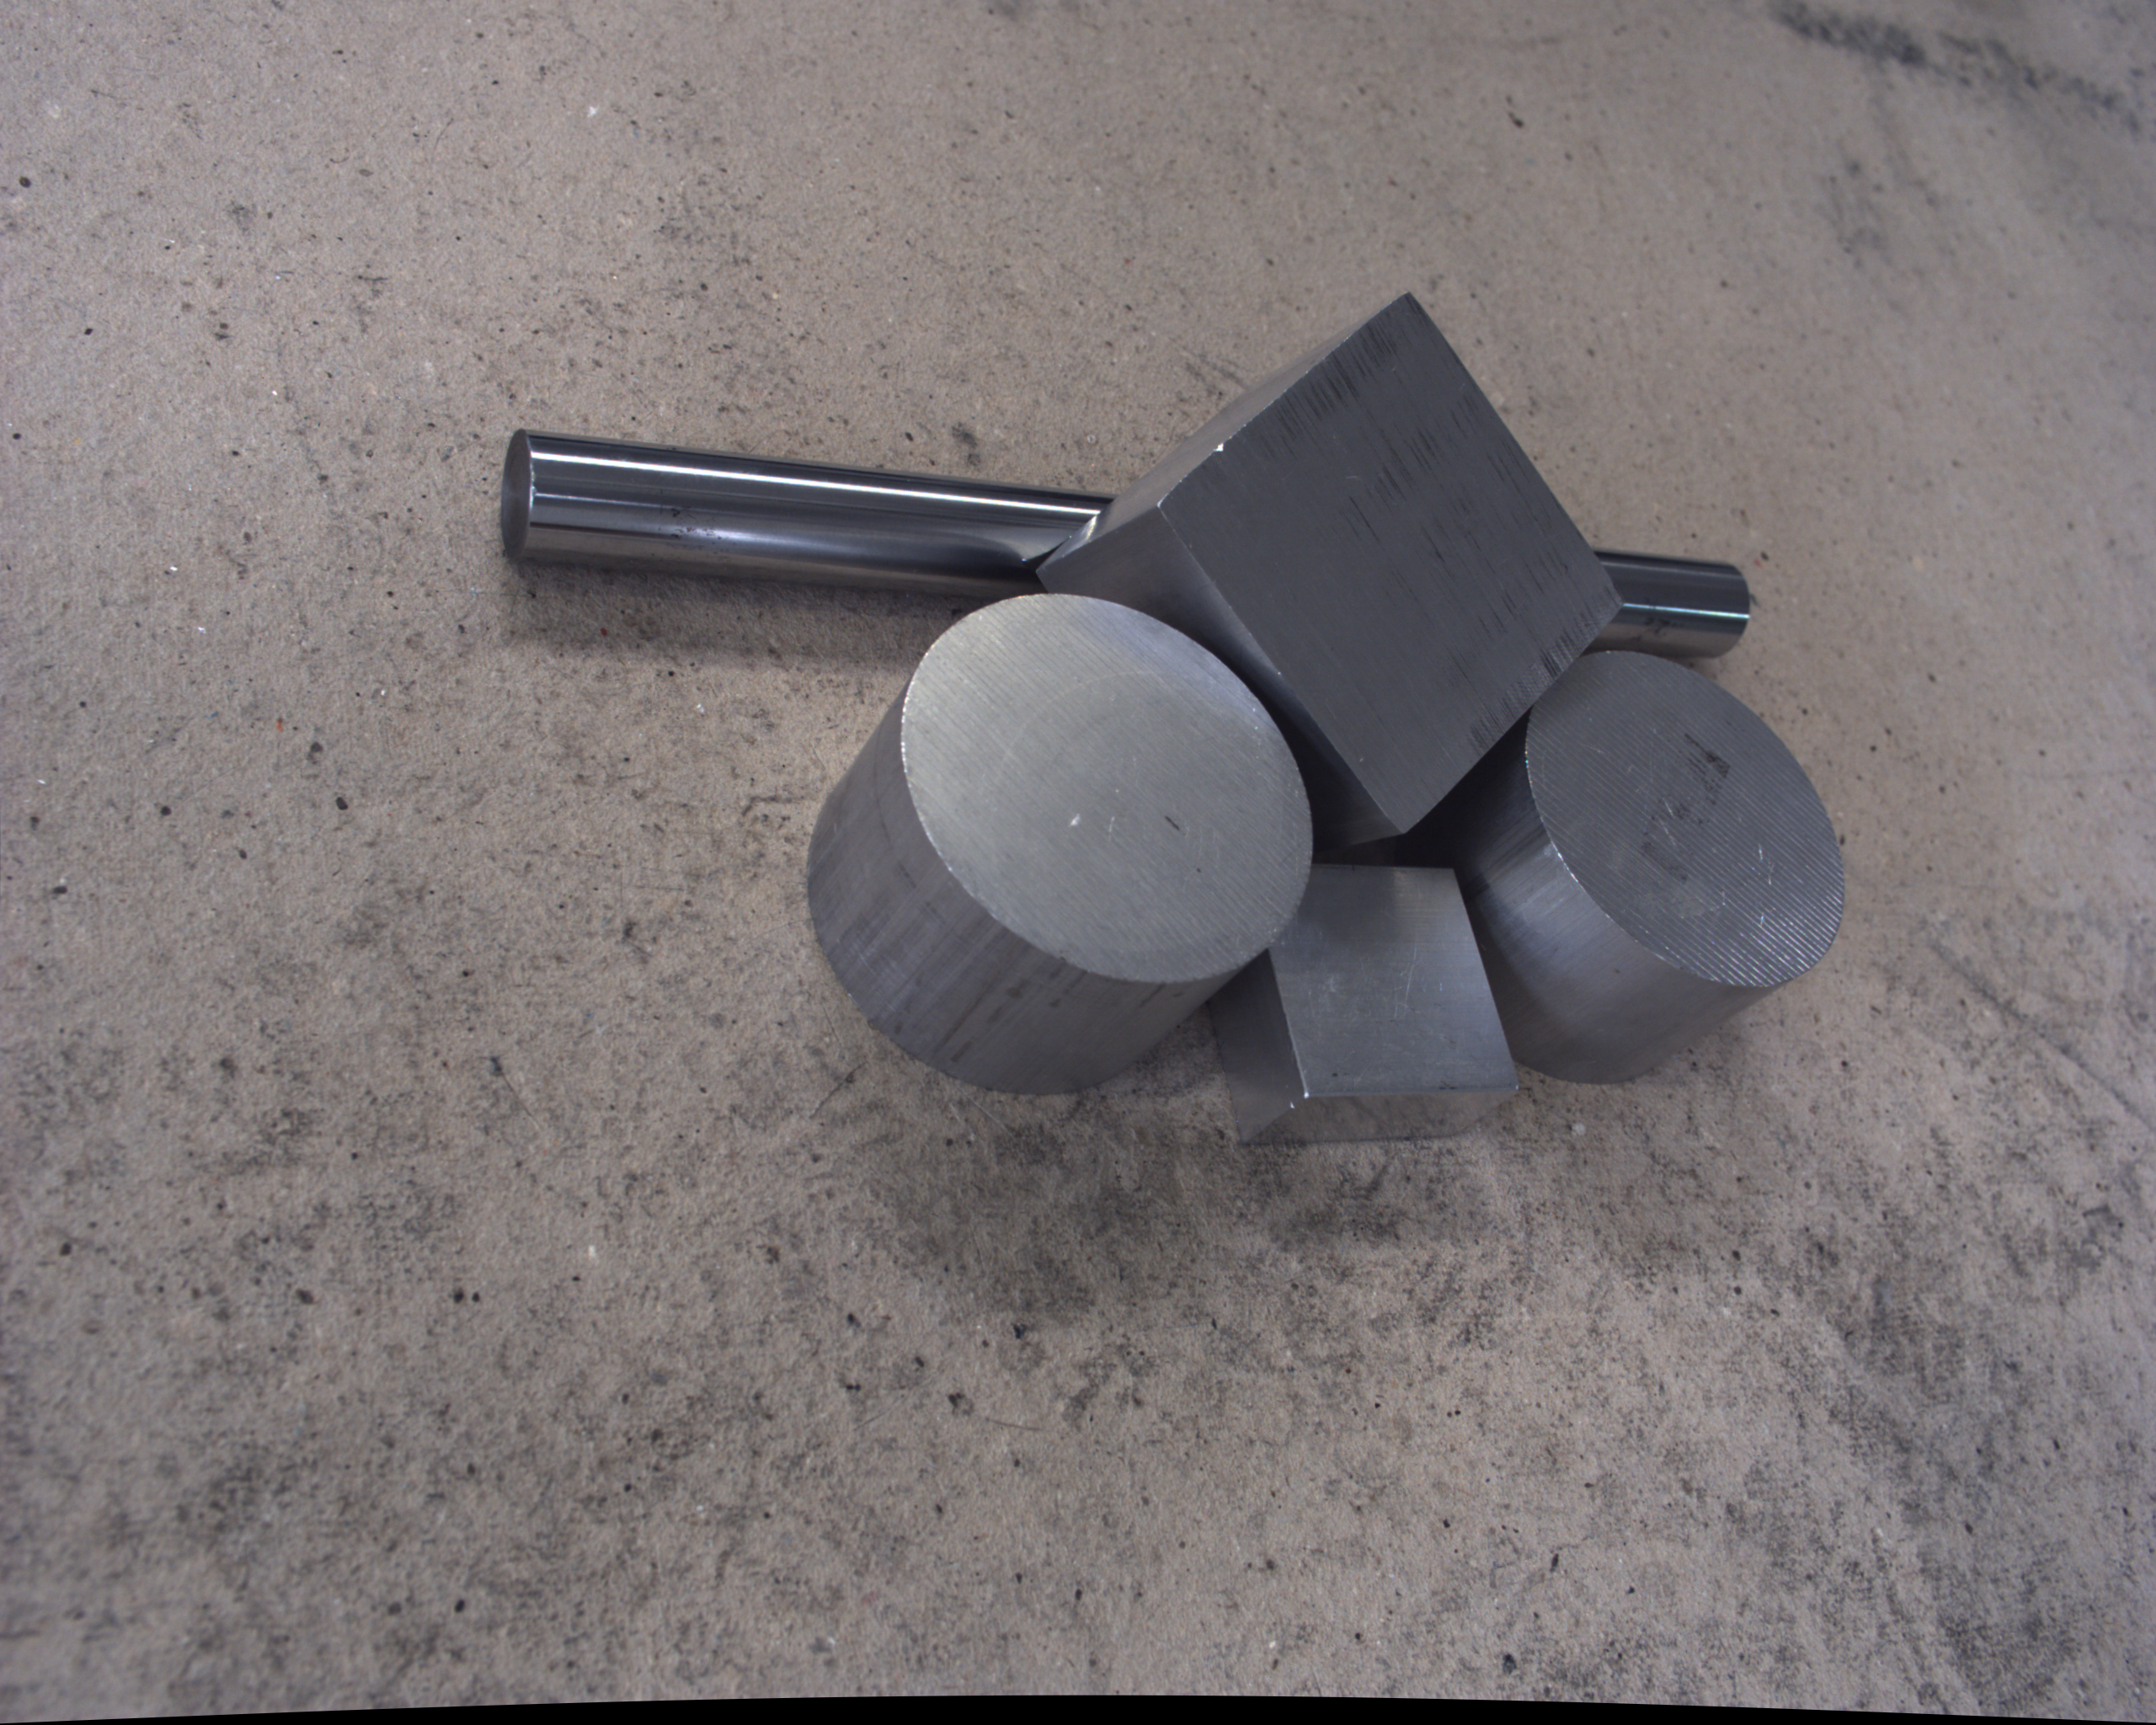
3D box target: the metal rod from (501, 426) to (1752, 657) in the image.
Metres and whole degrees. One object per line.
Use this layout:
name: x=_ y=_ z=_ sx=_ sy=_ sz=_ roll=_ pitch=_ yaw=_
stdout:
metal rod: x=0.029 y=-0.067 z=0.461 sx=0.303 sy=0.025 sz=0.025 roll=1 pitch=62 yaw=-28

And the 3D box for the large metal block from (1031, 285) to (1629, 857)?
large metal block: x=0.052 y=-0.057 z=0.429 sx=0.080 sy=0.050 sz=0.080 roll=-44 pitch=103 yaw=-26

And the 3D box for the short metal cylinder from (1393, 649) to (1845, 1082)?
short metal cylinder: x=0.116 y=0.001 z=0.451 sx=0.081 sy=0.050 sz=0.080 roll=14 pitch=56 yaw=-21

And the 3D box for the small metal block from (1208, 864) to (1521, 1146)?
small metal block: x=0.054 y=0.028 z=0.418 sx=0.050 sy=0.025 sz=0.050 roll=2 pitch=61 yaw=-27

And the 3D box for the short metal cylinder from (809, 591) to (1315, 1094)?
short metal cylinder: x=-0.004 y=-0.003 z=0.388 sx=0.081 sy=0.050 sz=0.080 roll=14 pitch=56 yaw=-21
